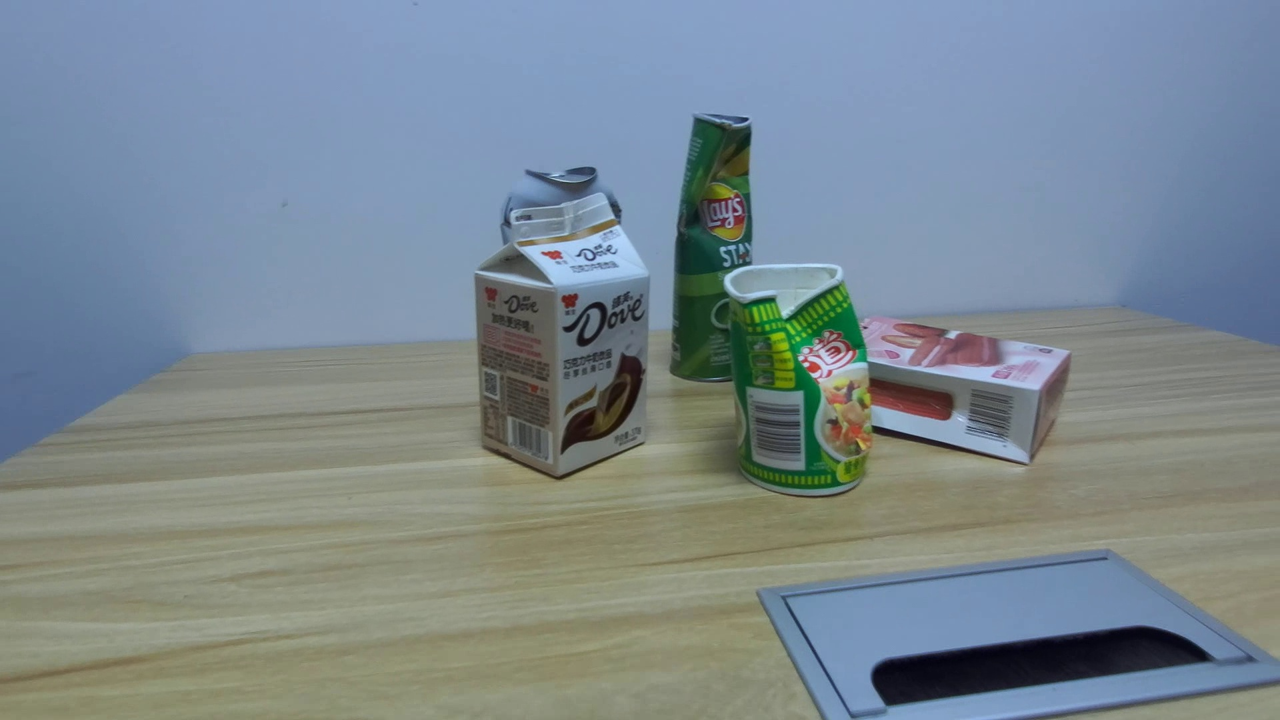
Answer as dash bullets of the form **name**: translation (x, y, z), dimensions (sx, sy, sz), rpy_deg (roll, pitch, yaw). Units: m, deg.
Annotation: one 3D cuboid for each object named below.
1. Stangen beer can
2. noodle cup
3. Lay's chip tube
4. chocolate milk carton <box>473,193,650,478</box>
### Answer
- **Stangen beer can**: translation (-0.059, -0.062, 0.537), dimensions (0.065, 0.162, 0.077), rpy_deg (17, 28, 26)
- **noodle cup**: translation (0.088, 0.008, 0.381), dimensions (0.083, 0.122, 0.075), rpy_deg (-15, 11, -12)
- **Lay's chip tube**: translation (0.059, -0.088, 0.554), dimensions (0.069, 0.201, 0.077), rpy_deg (-2, 21, -5)
- **chocolate milk carton**: translation (-0.045, -0.019, 0.414), dimensions (0.073, 0.148, 0.076), rpy_deg (14, 21, 40)
